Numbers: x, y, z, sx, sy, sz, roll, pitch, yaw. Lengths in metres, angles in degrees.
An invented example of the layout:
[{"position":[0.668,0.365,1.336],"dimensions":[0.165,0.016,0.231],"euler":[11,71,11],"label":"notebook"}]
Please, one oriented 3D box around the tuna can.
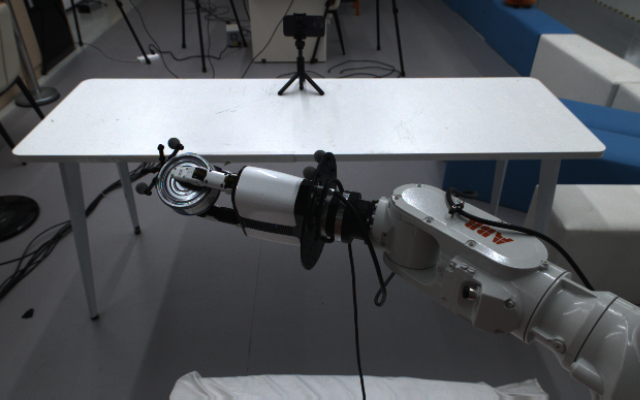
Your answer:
[{"position":[-0.184,-0.022,0.690],"dimensions":[0.085,0.034,0.085],"euler":[-1,74,5],"label":"tuna can"}]
